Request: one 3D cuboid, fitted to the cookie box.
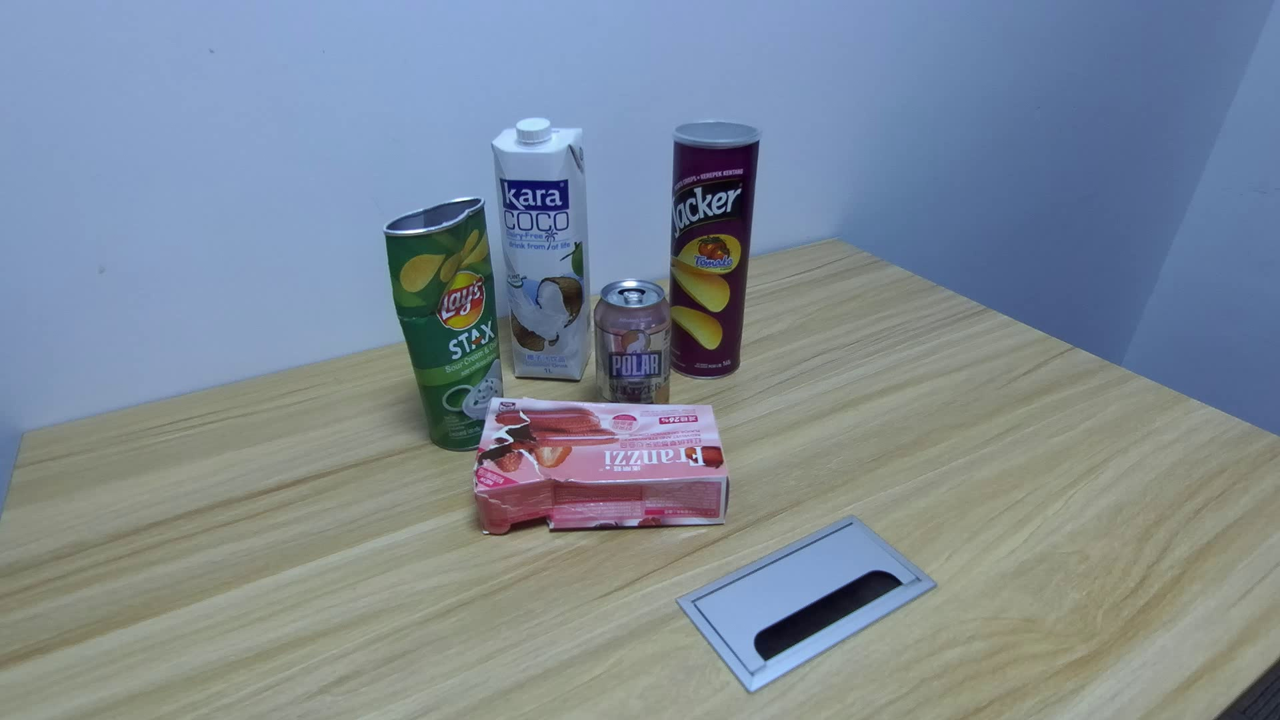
[{"bbox_3d":[-0.029,0.076,0.551,0.186,0.059,0.105,-2,33,-4],"label":"cookie box"}]

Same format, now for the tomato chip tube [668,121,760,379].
[{"bbox_3d":[0.067,-0.099,0.674,0.078,0.234,0.078,0,30,0],"label":"tomato chip tube"}]

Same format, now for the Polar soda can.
[{"bbox_3d":[-0.005,-0.005,0.622,0.067,0.126,0.067,-1,31,1],"label":"Polar soda can"}]

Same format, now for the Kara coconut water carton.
[{"bbox_3d":[-0.087,-0.100,0.663,0.077,0.245,0.075,3,30,7],"label":"Kara coconut water carton"}]

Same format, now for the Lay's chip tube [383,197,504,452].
[{"bbox_3d":[-0.154,-0.025,0.585,0.069,0.200,0.074,-3,32,-4],"label":"Lay's chip tube"}]
